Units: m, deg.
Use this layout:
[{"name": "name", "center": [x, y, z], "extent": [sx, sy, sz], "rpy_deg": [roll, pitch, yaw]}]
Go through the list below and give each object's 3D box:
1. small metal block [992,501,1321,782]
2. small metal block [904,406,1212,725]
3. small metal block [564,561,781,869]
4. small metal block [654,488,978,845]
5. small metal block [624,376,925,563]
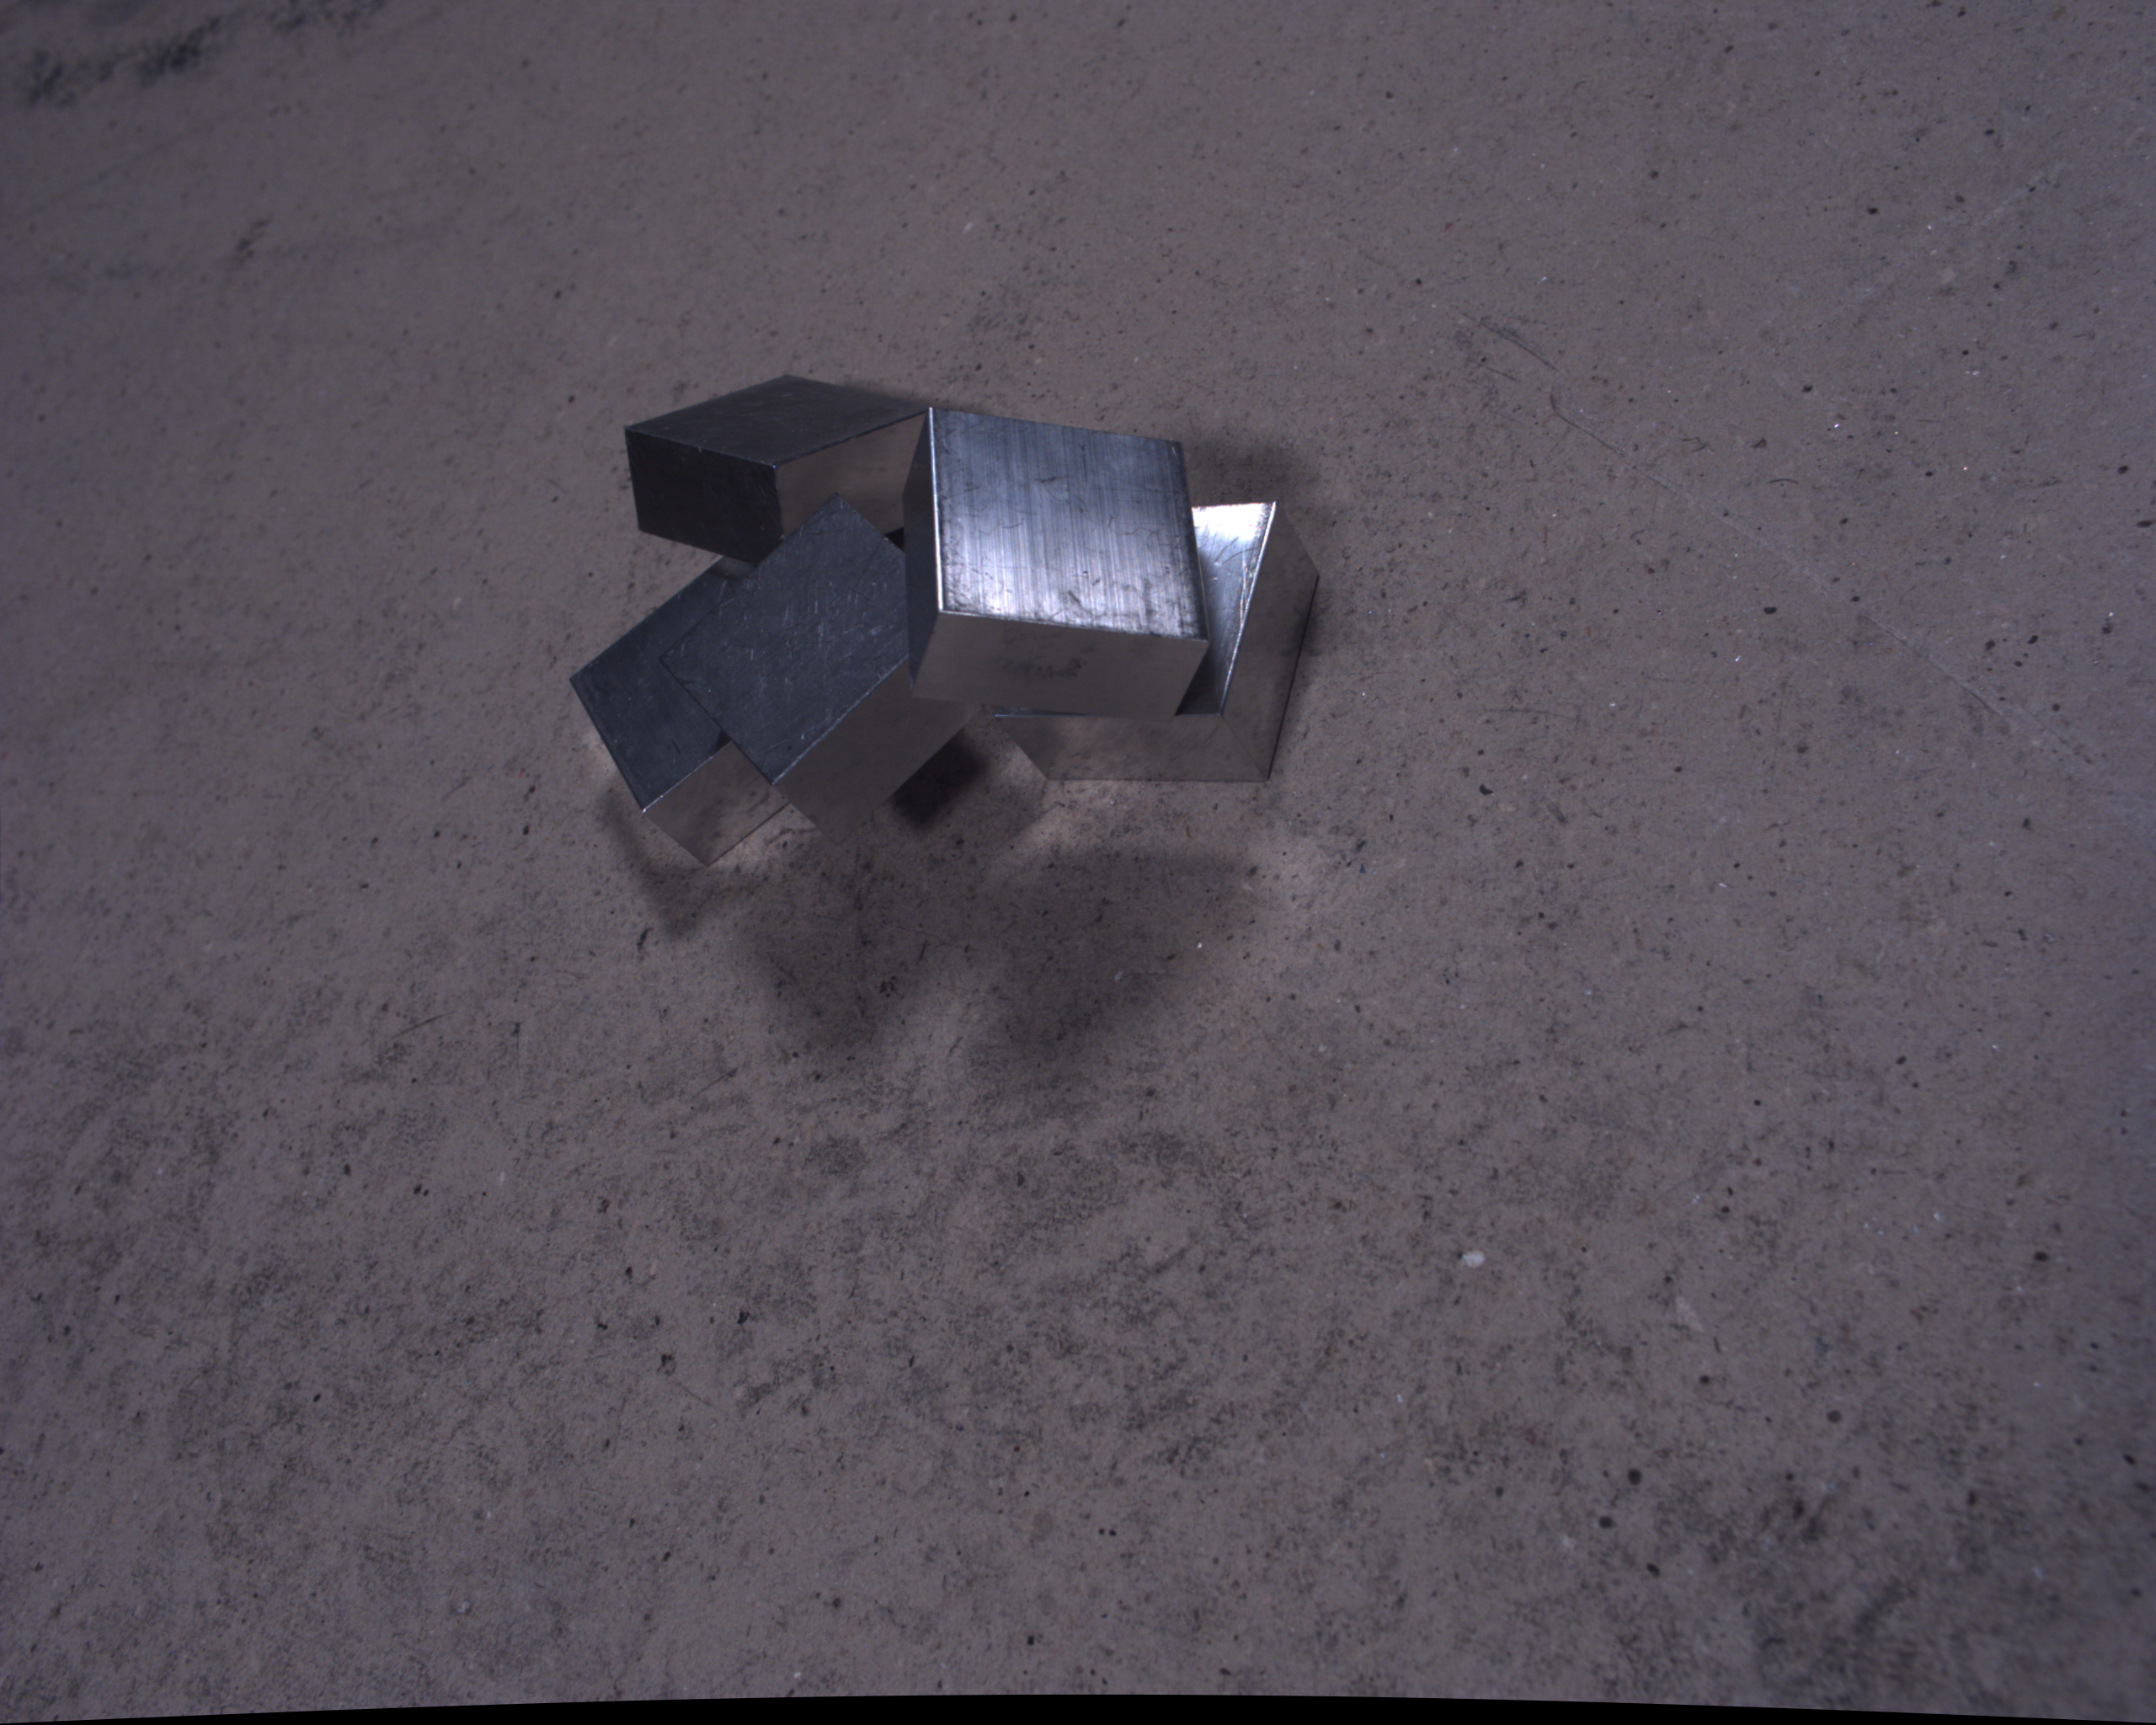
[{"name": "small metal block", "center": [0.017, -0.044, 0.423], "extent": [0.050, 0.025, 0.050], "rpy_deg": [2, 63, 29]}, {"name": "small metal block", "center": [-0.005, -0.056, 0.393], "extent": [0.050, 0.025, 0.050], "rpy_deg": [5, 56, -15]}, {"name": "small metal block", "center": [-0.080, -0.035, 0.467], "extent": [0.050, 0.025, 0.050], "rpy_deg": [-38, 51, 2]}, {"name": "small metal block", "center": [-0.049, -0.040, 0.421], "extent": [0.050, 0.025, 0.050], "rpy_deg": [-44, 51, -3]}, {"name": "small metal block", "center": [-0.067, -0.090, 0.479], "extent": [0.050, 0.025, 0.050], "rpy_deg": [20, 36, 35]}]
